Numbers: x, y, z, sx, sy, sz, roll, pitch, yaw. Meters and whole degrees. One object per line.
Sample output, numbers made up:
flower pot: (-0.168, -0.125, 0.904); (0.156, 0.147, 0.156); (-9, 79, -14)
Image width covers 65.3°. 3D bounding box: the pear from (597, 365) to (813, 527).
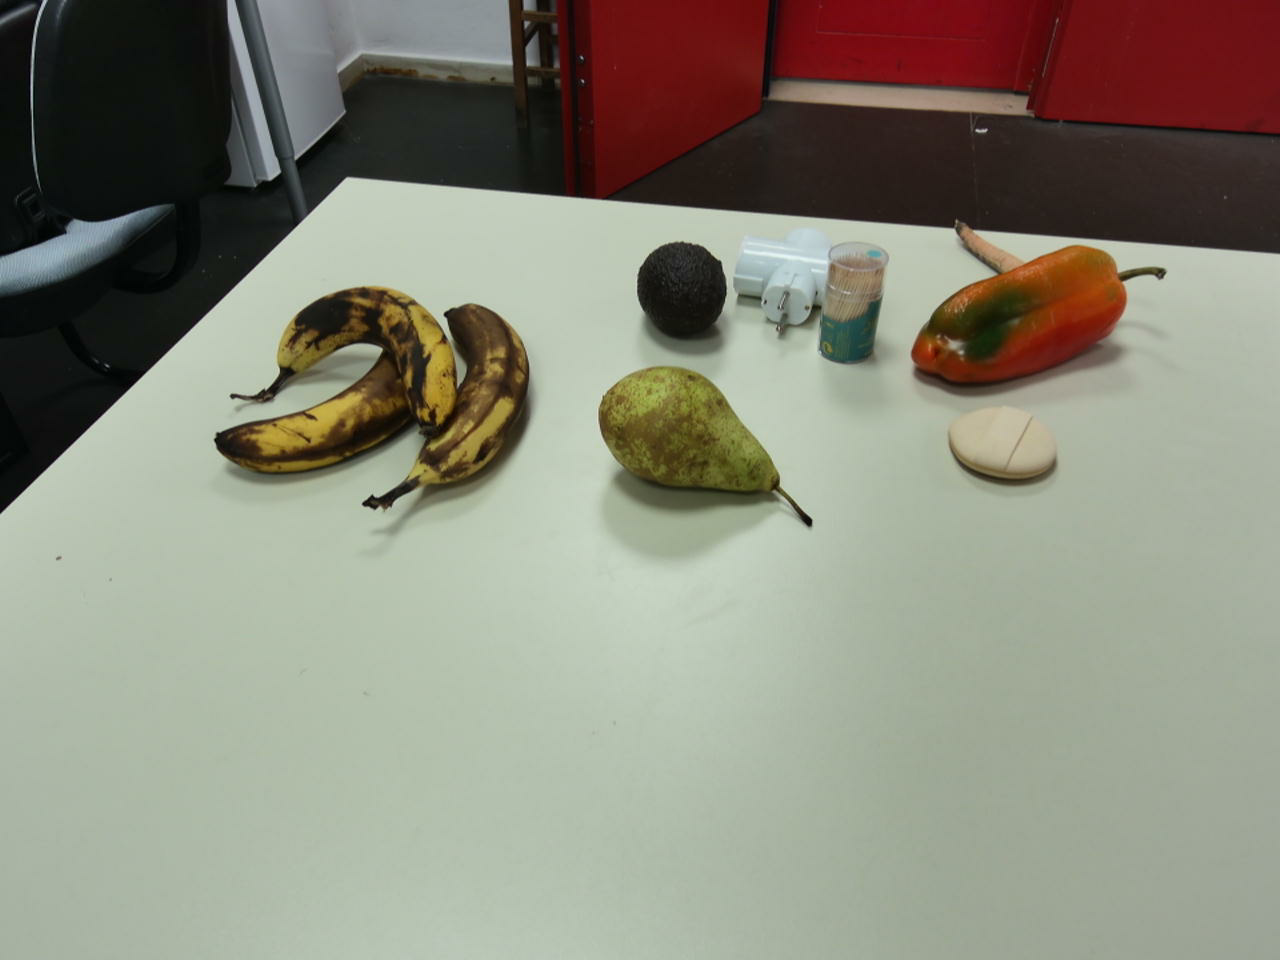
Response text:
pear: (0.039, -0.029, 0.590); (0.128, 0.075, 0.071); (4, 39, 4)
